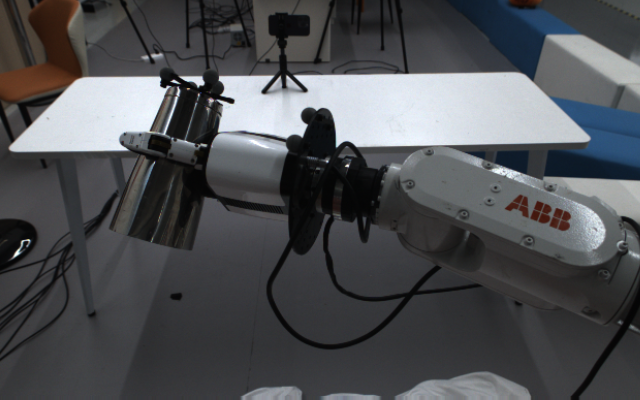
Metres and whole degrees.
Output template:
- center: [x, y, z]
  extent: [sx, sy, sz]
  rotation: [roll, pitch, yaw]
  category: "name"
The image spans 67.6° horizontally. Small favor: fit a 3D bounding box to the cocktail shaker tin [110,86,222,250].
- center: [-0.167, -0.036, 0.551]
  extent: [0.093, 0.170, 0.093]
  rotation: [15, -6, 2]
  category: "cocktail shaker tin"
